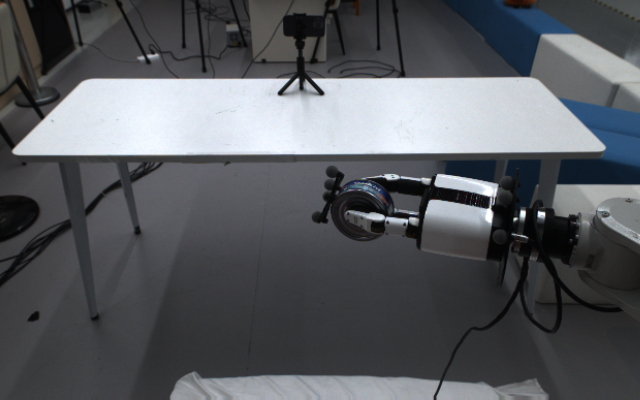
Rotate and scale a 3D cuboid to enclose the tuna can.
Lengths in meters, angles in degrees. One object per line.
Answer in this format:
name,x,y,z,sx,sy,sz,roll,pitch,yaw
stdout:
tuna can,0.062,0.014,0.684,0.085,0.085,0.034,12,30,14
